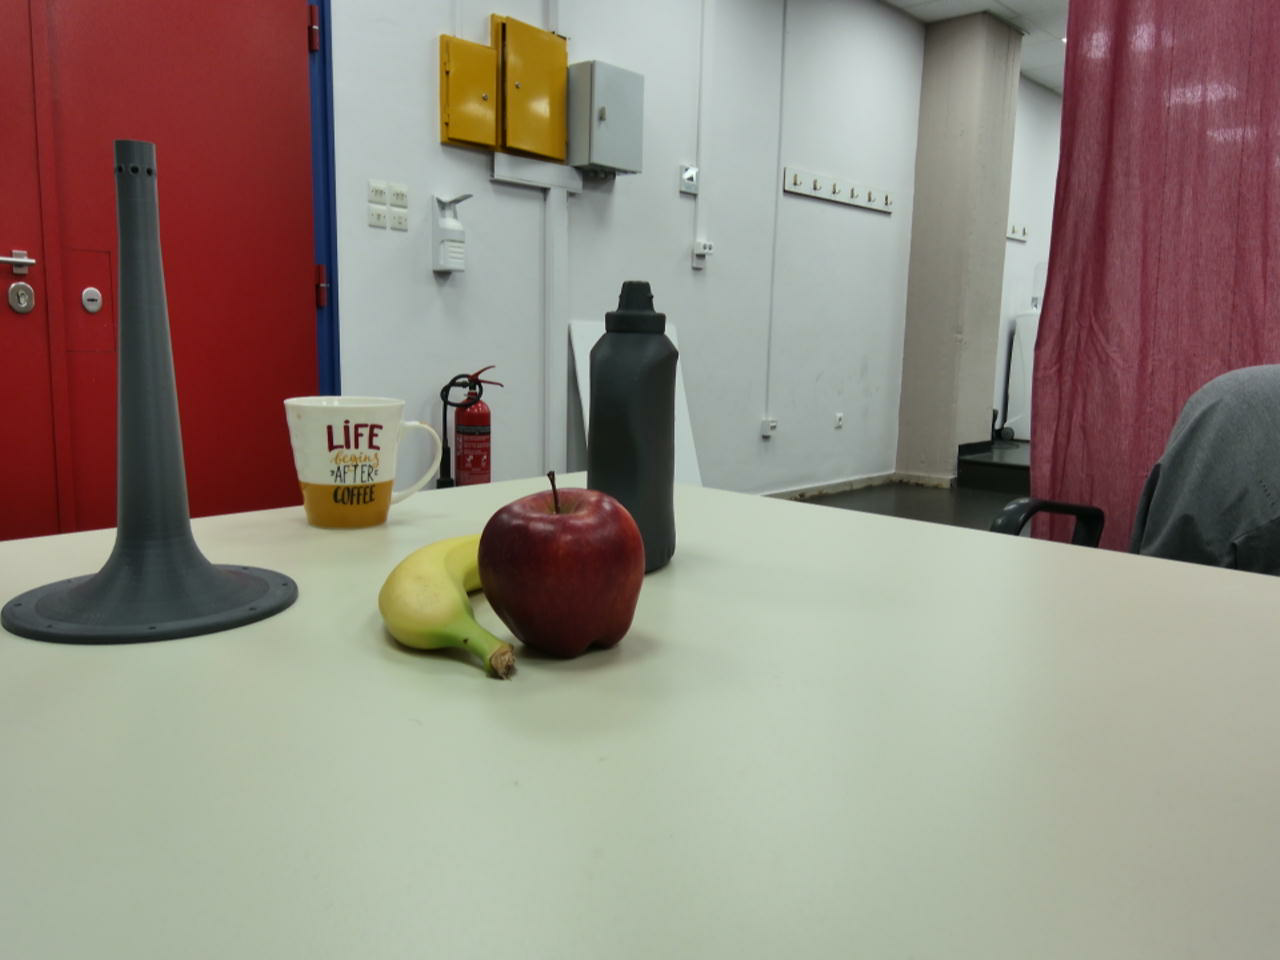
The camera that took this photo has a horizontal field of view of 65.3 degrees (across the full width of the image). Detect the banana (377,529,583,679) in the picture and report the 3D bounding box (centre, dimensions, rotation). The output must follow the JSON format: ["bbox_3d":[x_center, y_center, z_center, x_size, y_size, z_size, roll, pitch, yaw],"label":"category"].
[{"bbox_3d":[-0.094,0.059,0.561,0.094,0.041,0.196,2,7,7],"label":"banana"}]
